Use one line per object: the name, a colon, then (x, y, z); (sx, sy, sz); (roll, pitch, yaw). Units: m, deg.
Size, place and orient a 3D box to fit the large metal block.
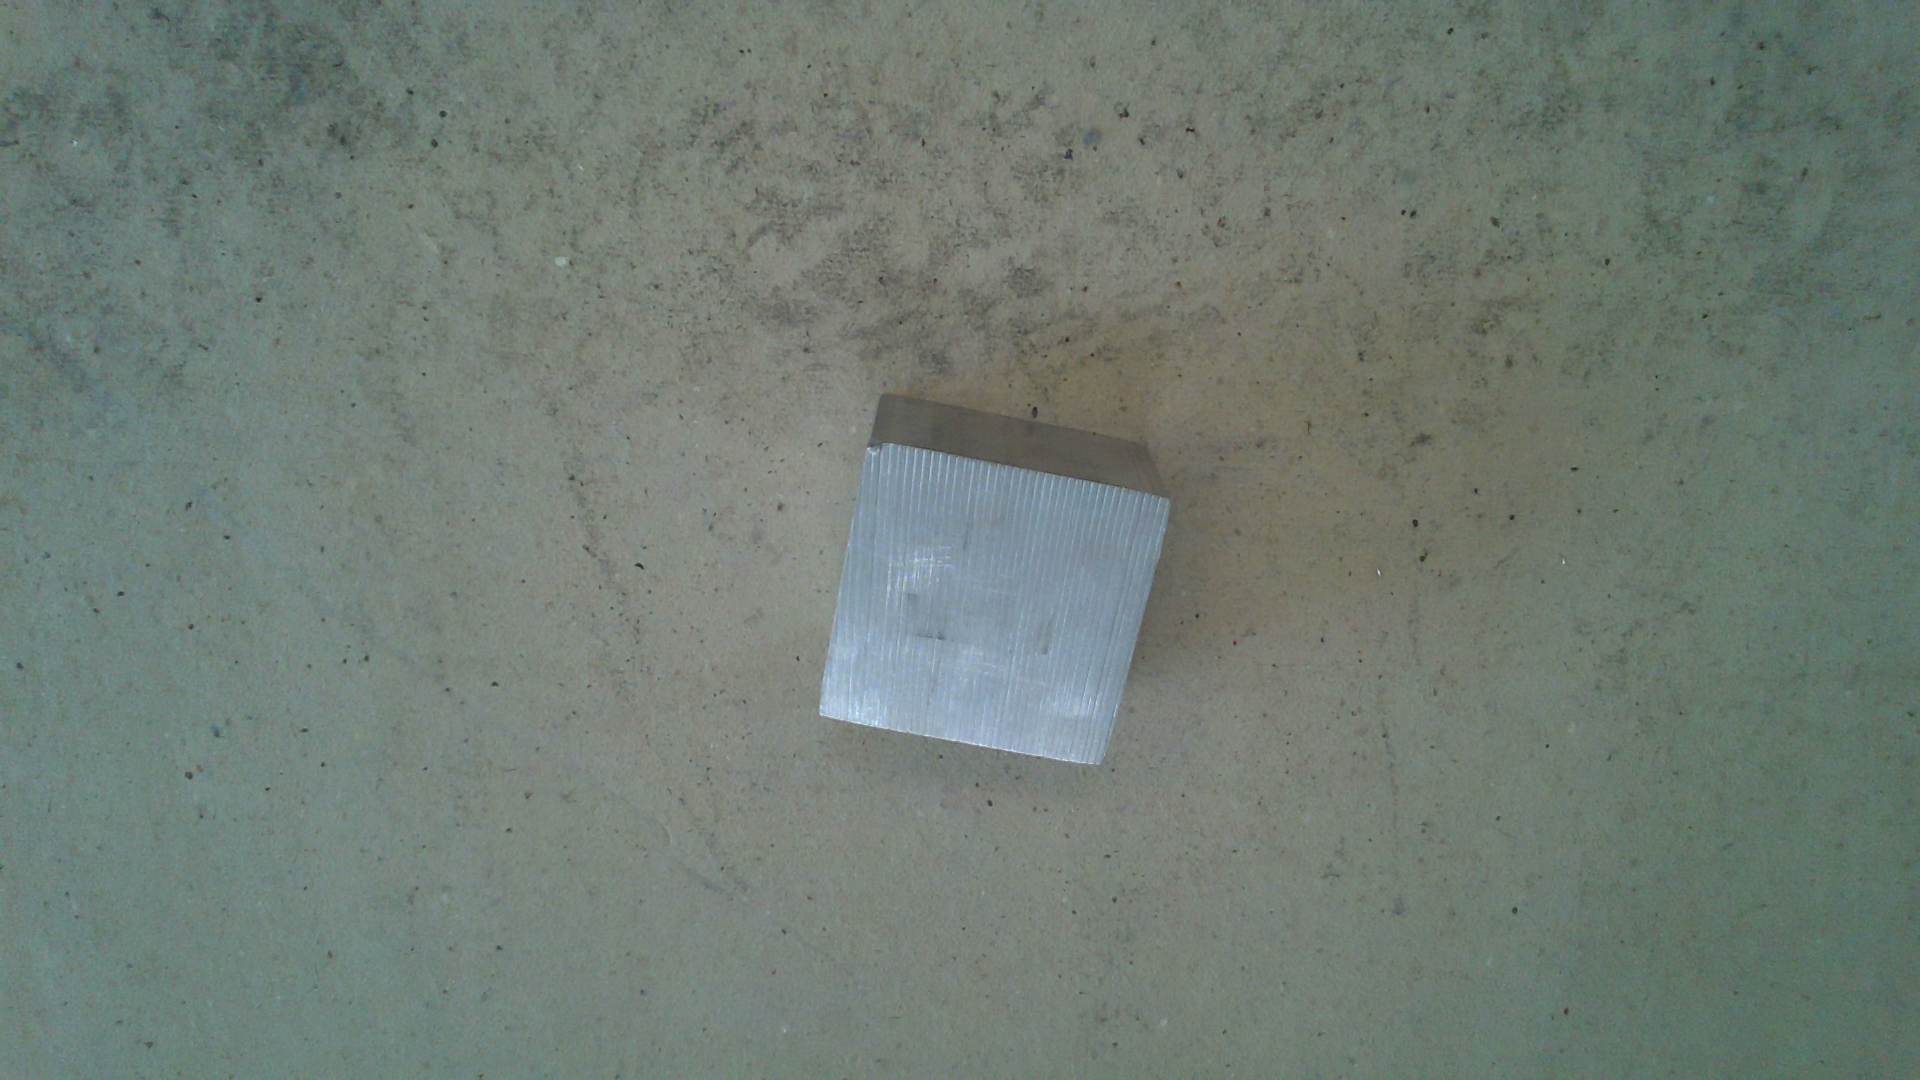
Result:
large metal block: (0.008, 0.010, 0.385); (0.080, 0.050, 0.080); (10, 110, -5)
